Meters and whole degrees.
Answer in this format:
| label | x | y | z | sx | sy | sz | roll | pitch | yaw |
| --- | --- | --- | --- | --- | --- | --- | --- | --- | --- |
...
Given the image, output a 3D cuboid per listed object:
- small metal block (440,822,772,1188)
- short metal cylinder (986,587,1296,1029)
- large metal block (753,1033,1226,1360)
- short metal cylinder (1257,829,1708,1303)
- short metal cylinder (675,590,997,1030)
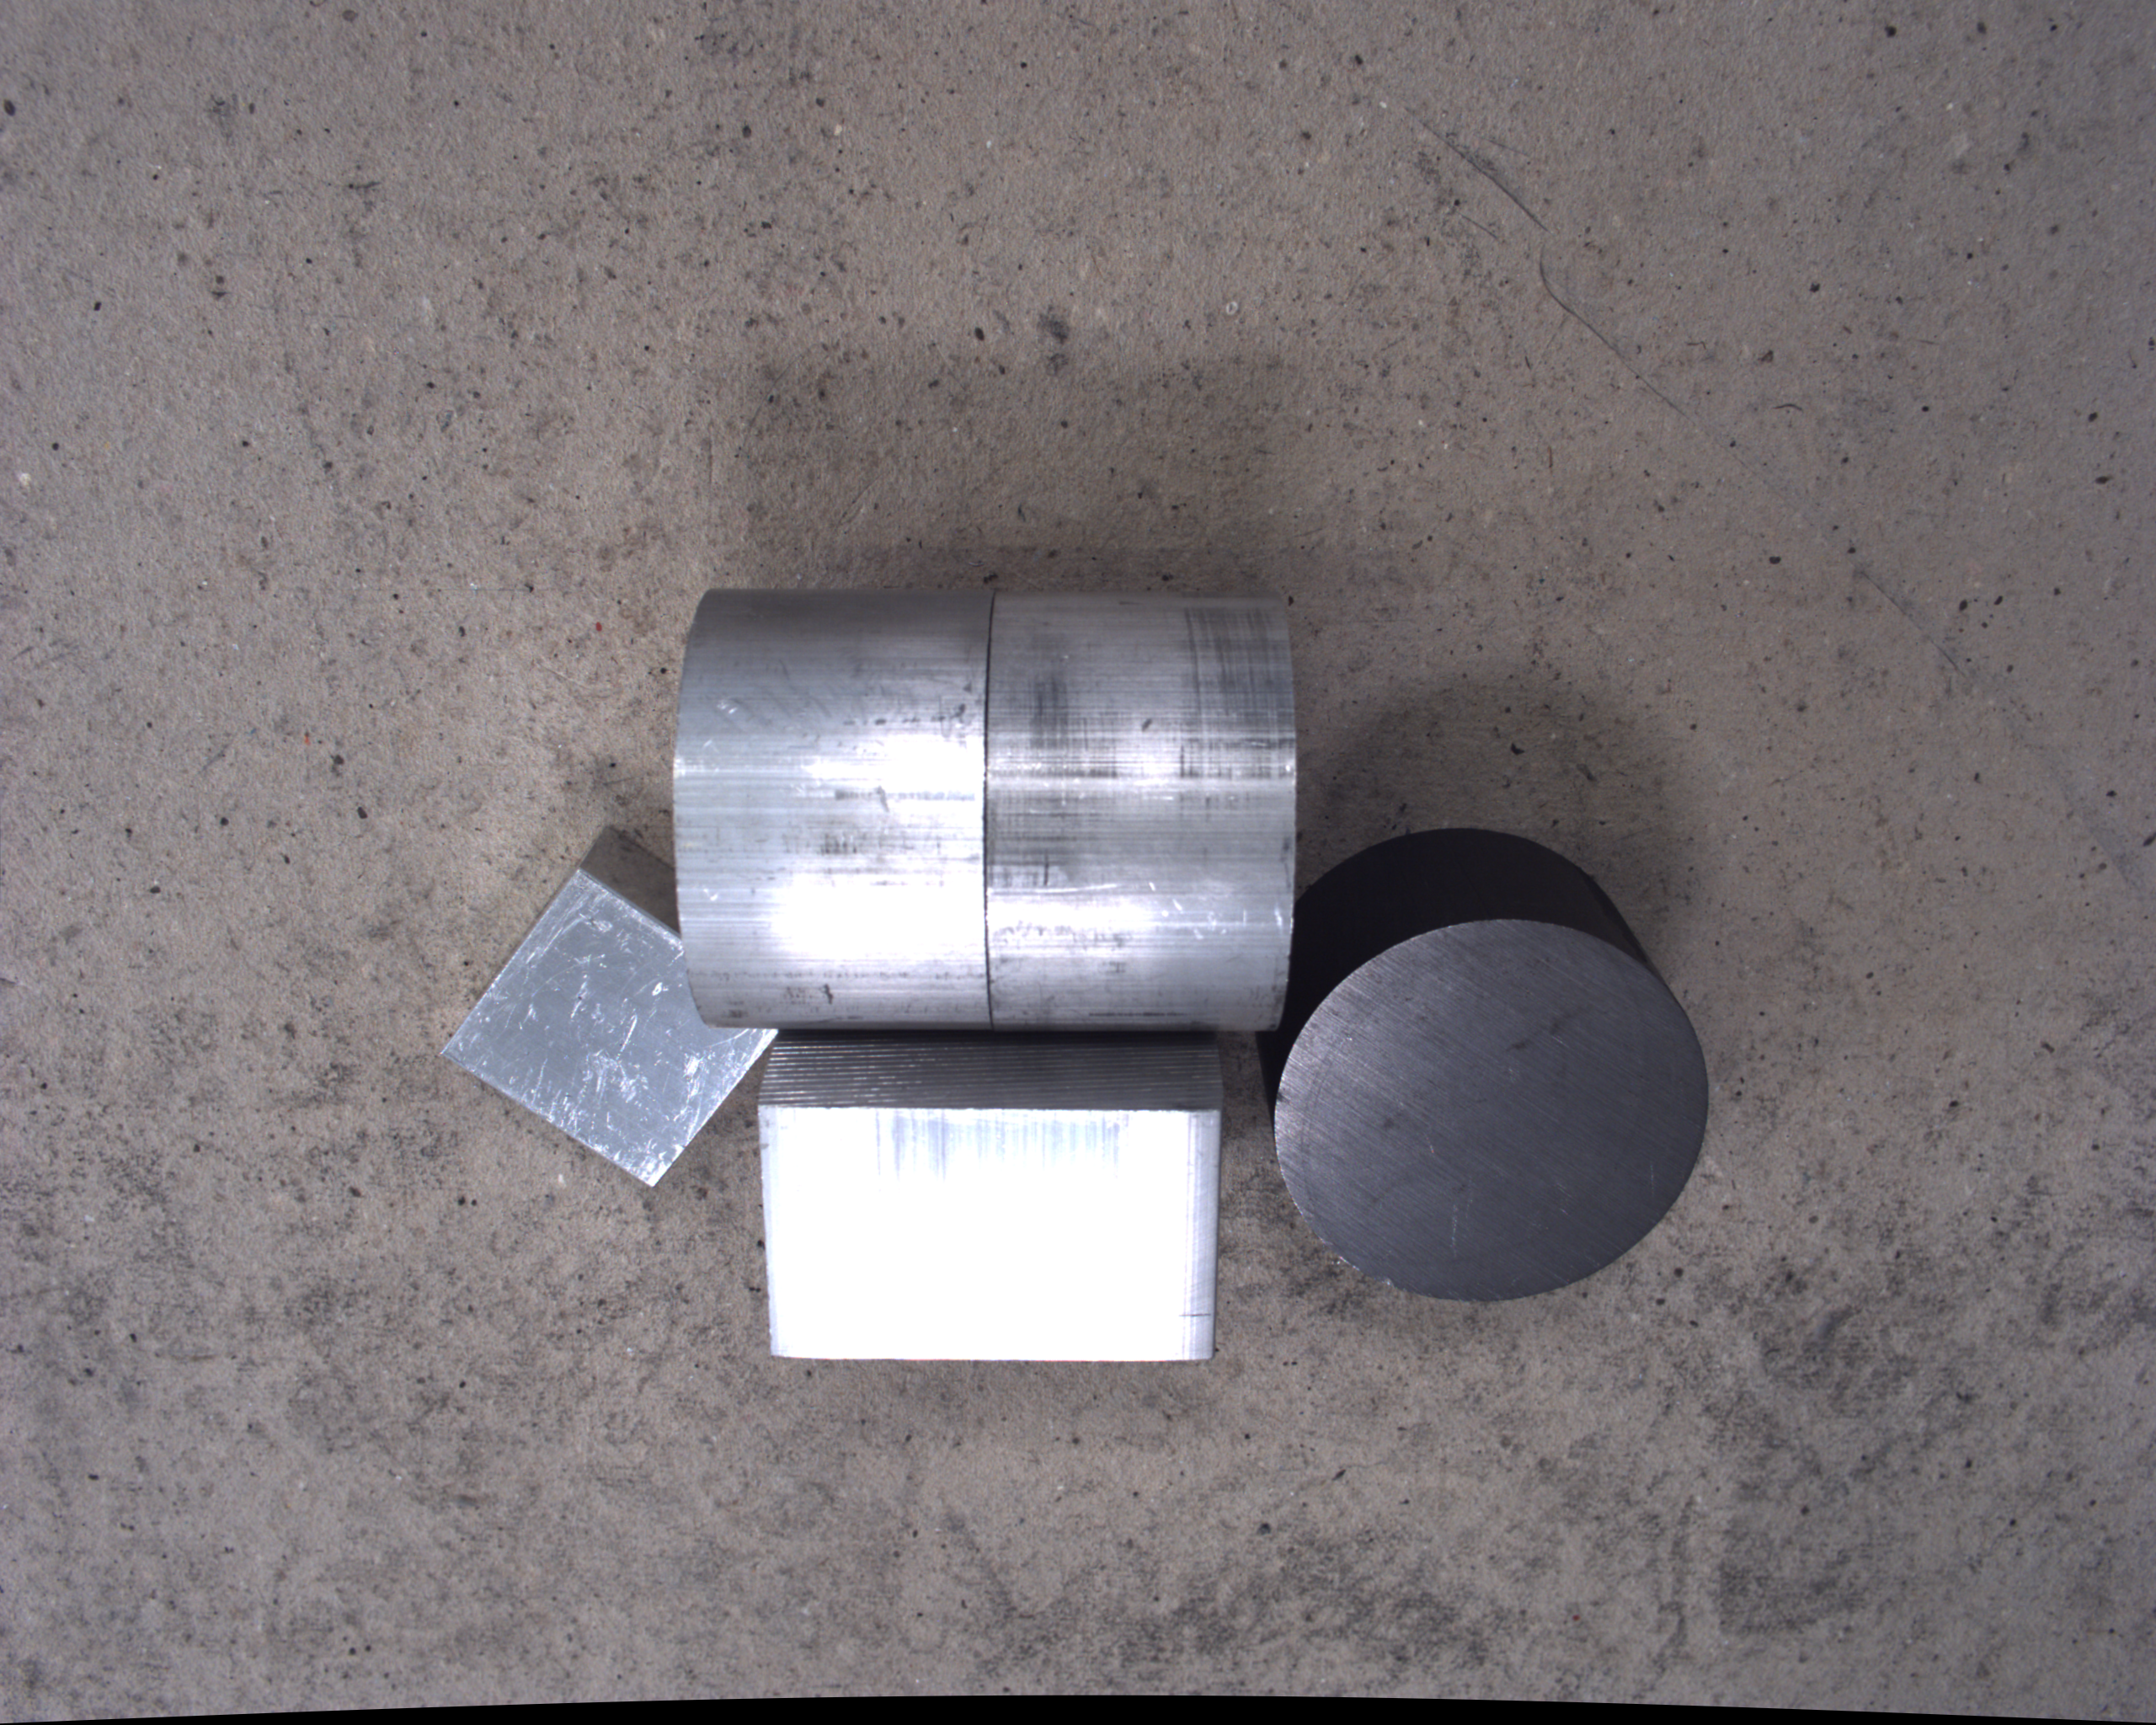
| label | x | y | z | sx | sy | sz | roll | pitch | yaw |
| --- | --- | --- | --- | --- | --- | --- | --- | --- | --- |
| small metal block | -0.090 | 0.029 | 0.421 | 0.050 | 0.025 | 0.050 | 36 | 106 | -13 |
| short metal cylinder | 0.010 | -0.010 | 0.379 | 0.050 | 0.080 | 0.079 | 1 | 110 | 0 |
| large metal block | -0.015 | 0.051 | 0.401 | 0.081 | 0.080 | 0.050 | 1 | 110 | -1 |
| short metal cylinder | 0.077 | 0.039 | 0.412 | 0.081 | 0.050 | 0.079 | 0 | 110 | 0 |
| short metal cylinder | -0.040 | -0.009 | 0.378 | 0.050 | 0.080 | 0.079 | 1 | 110 | 0 |
